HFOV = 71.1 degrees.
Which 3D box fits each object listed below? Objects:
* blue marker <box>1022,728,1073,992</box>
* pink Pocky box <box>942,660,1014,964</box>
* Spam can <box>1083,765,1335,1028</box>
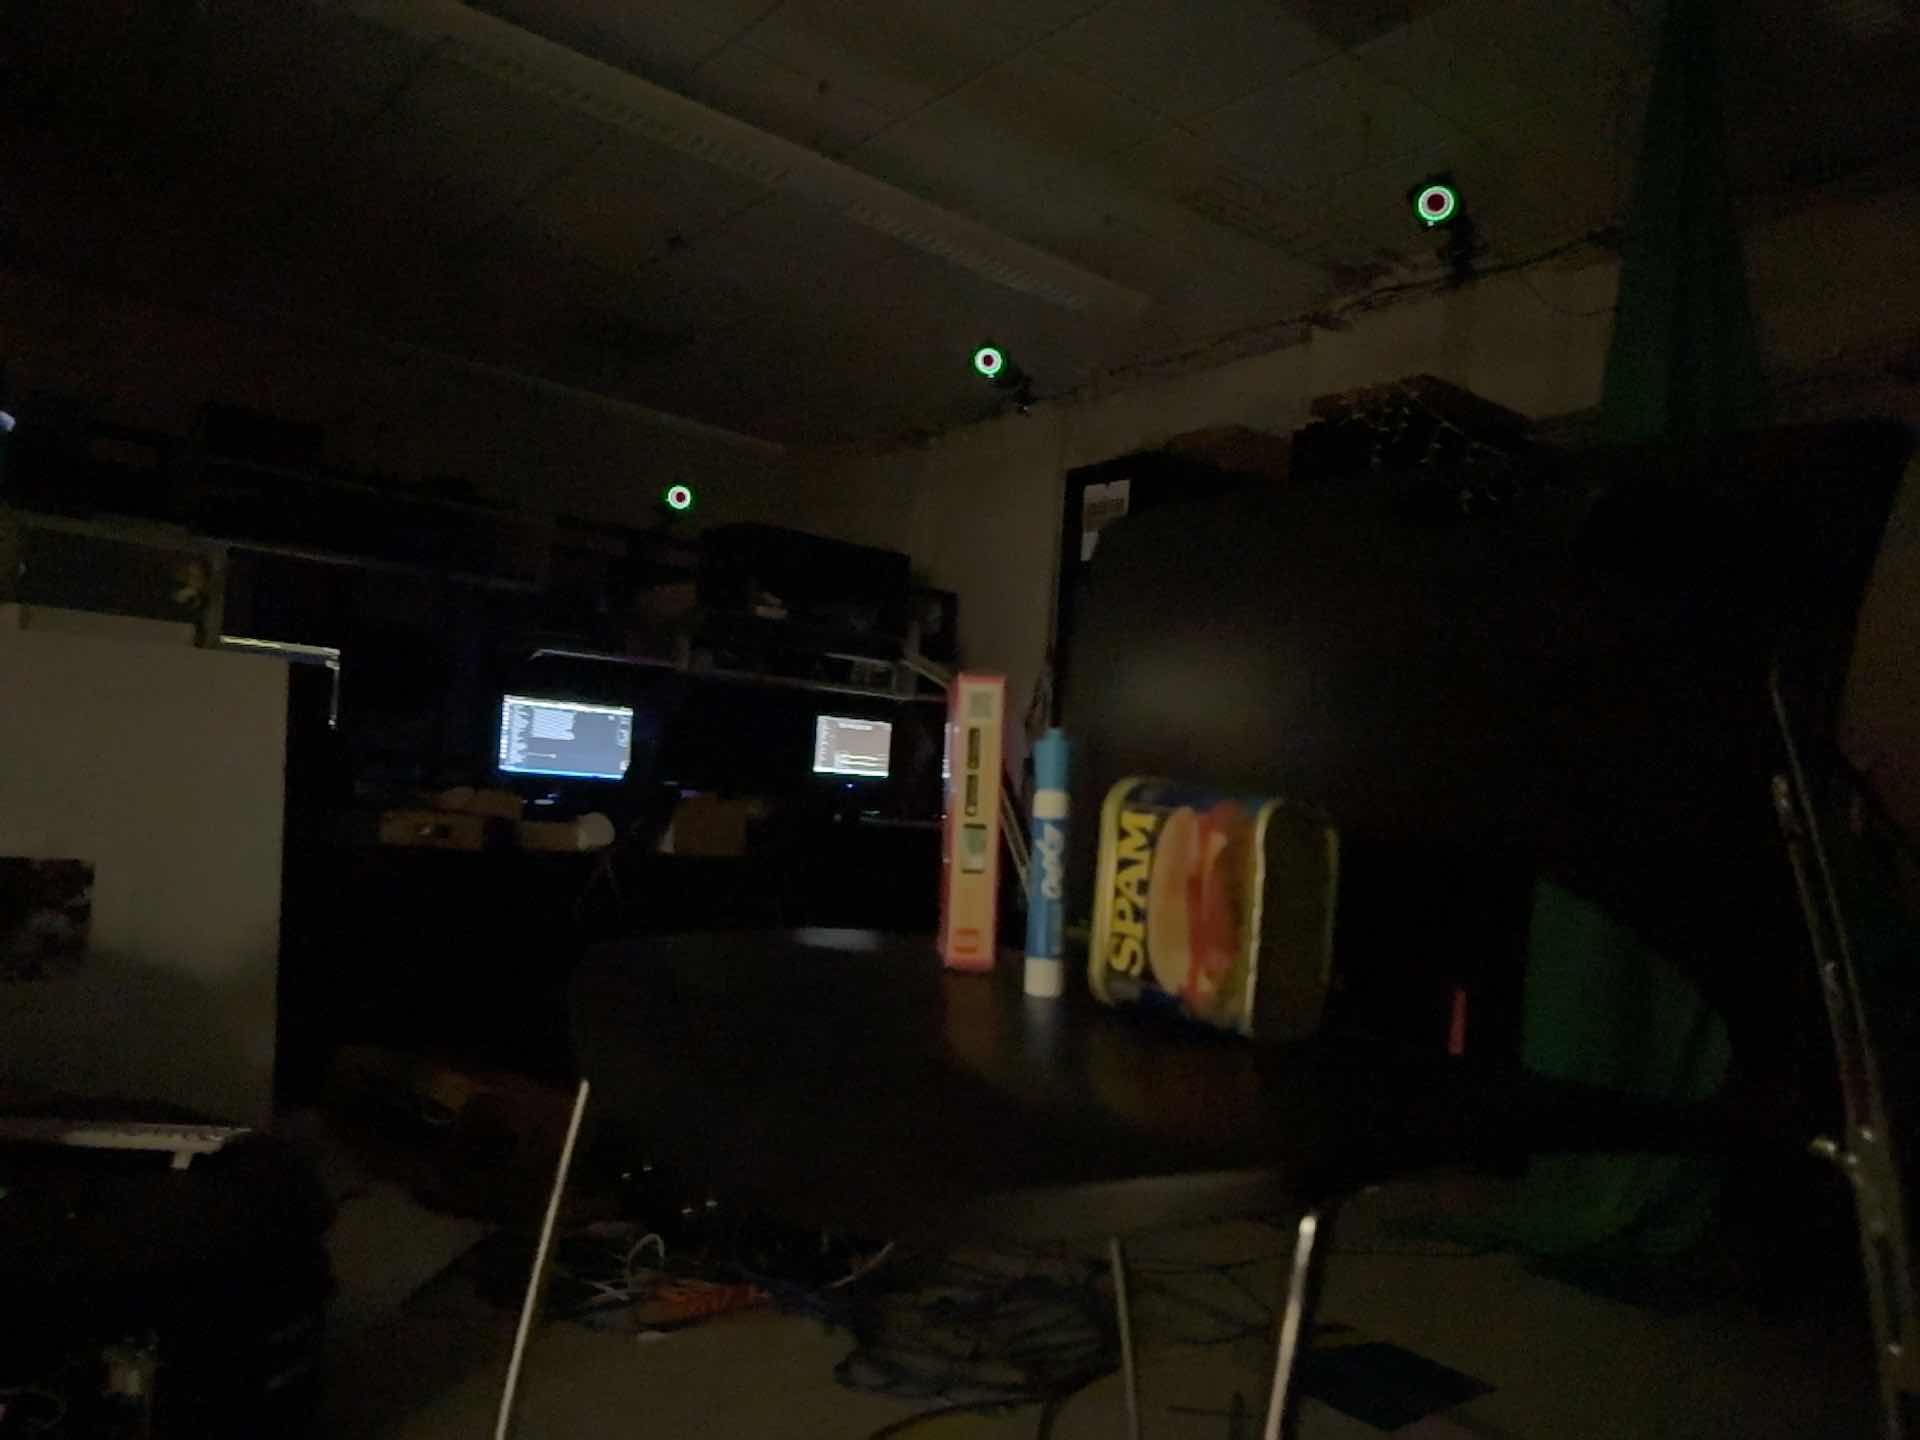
[{"bbox_3d":[0.041,0.064,0.625,0.020,0.121,0.020,2,0,0],"label":"blue marker"},{"bbox_3d":[0.008,0.048,0.725,0.029,0.155,0.084,3,-2,-3],"label":"pink Pocky box"},{"bbox_3d":[0.105,0.073,0.569,0.056,0.100,0.083,6,0,-45],"label":"Spam can"}]
